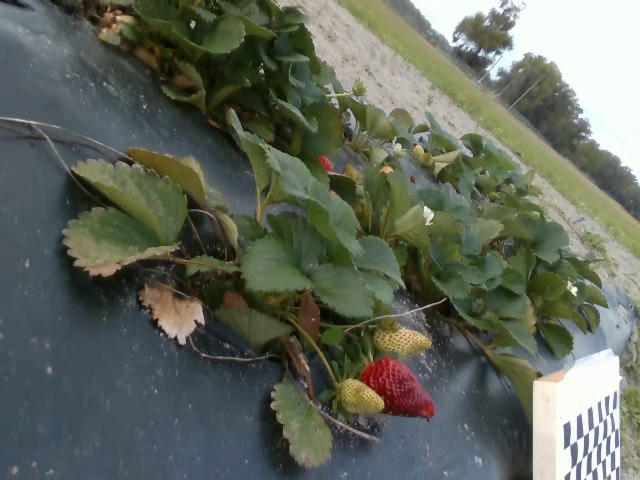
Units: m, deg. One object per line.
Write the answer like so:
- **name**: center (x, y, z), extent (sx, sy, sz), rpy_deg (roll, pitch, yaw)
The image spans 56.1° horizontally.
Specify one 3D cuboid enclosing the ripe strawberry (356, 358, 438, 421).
- **ripe strawberry**: center (0.054, 0.103, 0.391), extent (0.059, 0.046, 0.046), rpy_deg (24, 16, 35)
